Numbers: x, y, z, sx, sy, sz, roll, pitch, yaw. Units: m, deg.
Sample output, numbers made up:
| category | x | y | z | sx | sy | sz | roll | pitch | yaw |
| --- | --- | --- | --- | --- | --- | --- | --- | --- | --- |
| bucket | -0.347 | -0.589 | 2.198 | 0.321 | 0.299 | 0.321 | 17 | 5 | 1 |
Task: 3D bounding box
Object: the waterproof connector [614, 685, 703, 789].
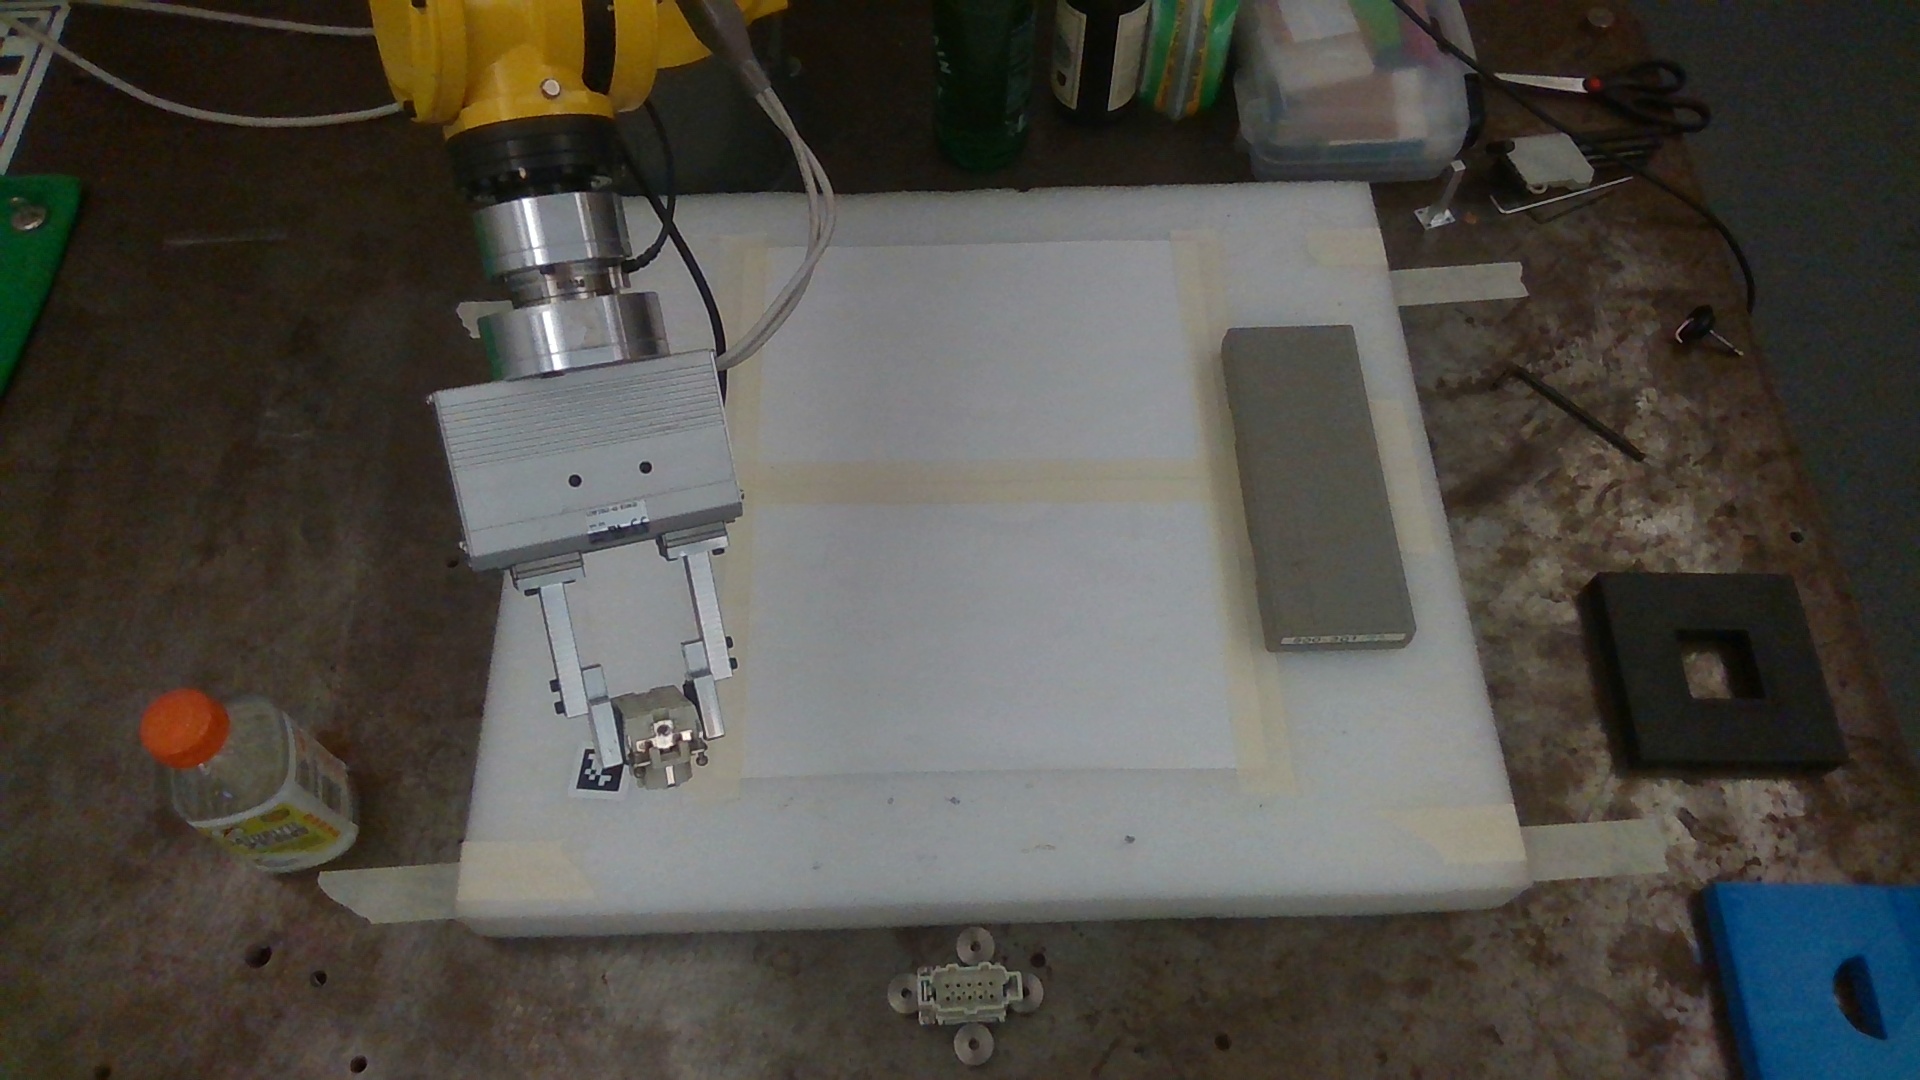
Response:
| category | x | y | z | sx | sy | sz | roll | pitch | yaw |
| --- | --- | --- | --- | --- | --- | --- | --- | --- | --- |
| waterproof connector | -0.153 | 0.100 | 0.704 | 0.036 | 0.069 | 0.038 | -13 | 102 | -18 |
